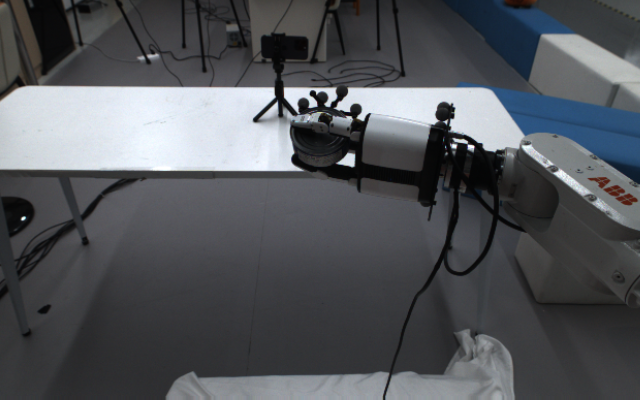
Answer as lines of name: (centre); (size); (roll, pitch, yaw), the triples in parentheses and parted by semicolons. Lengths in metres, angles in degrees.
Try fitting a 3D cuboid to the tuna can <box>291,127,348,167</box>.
tuna can: (0.000, -0.093, 0.687); (0.085, 0.034, 0.085); (-3, 56, 4)
